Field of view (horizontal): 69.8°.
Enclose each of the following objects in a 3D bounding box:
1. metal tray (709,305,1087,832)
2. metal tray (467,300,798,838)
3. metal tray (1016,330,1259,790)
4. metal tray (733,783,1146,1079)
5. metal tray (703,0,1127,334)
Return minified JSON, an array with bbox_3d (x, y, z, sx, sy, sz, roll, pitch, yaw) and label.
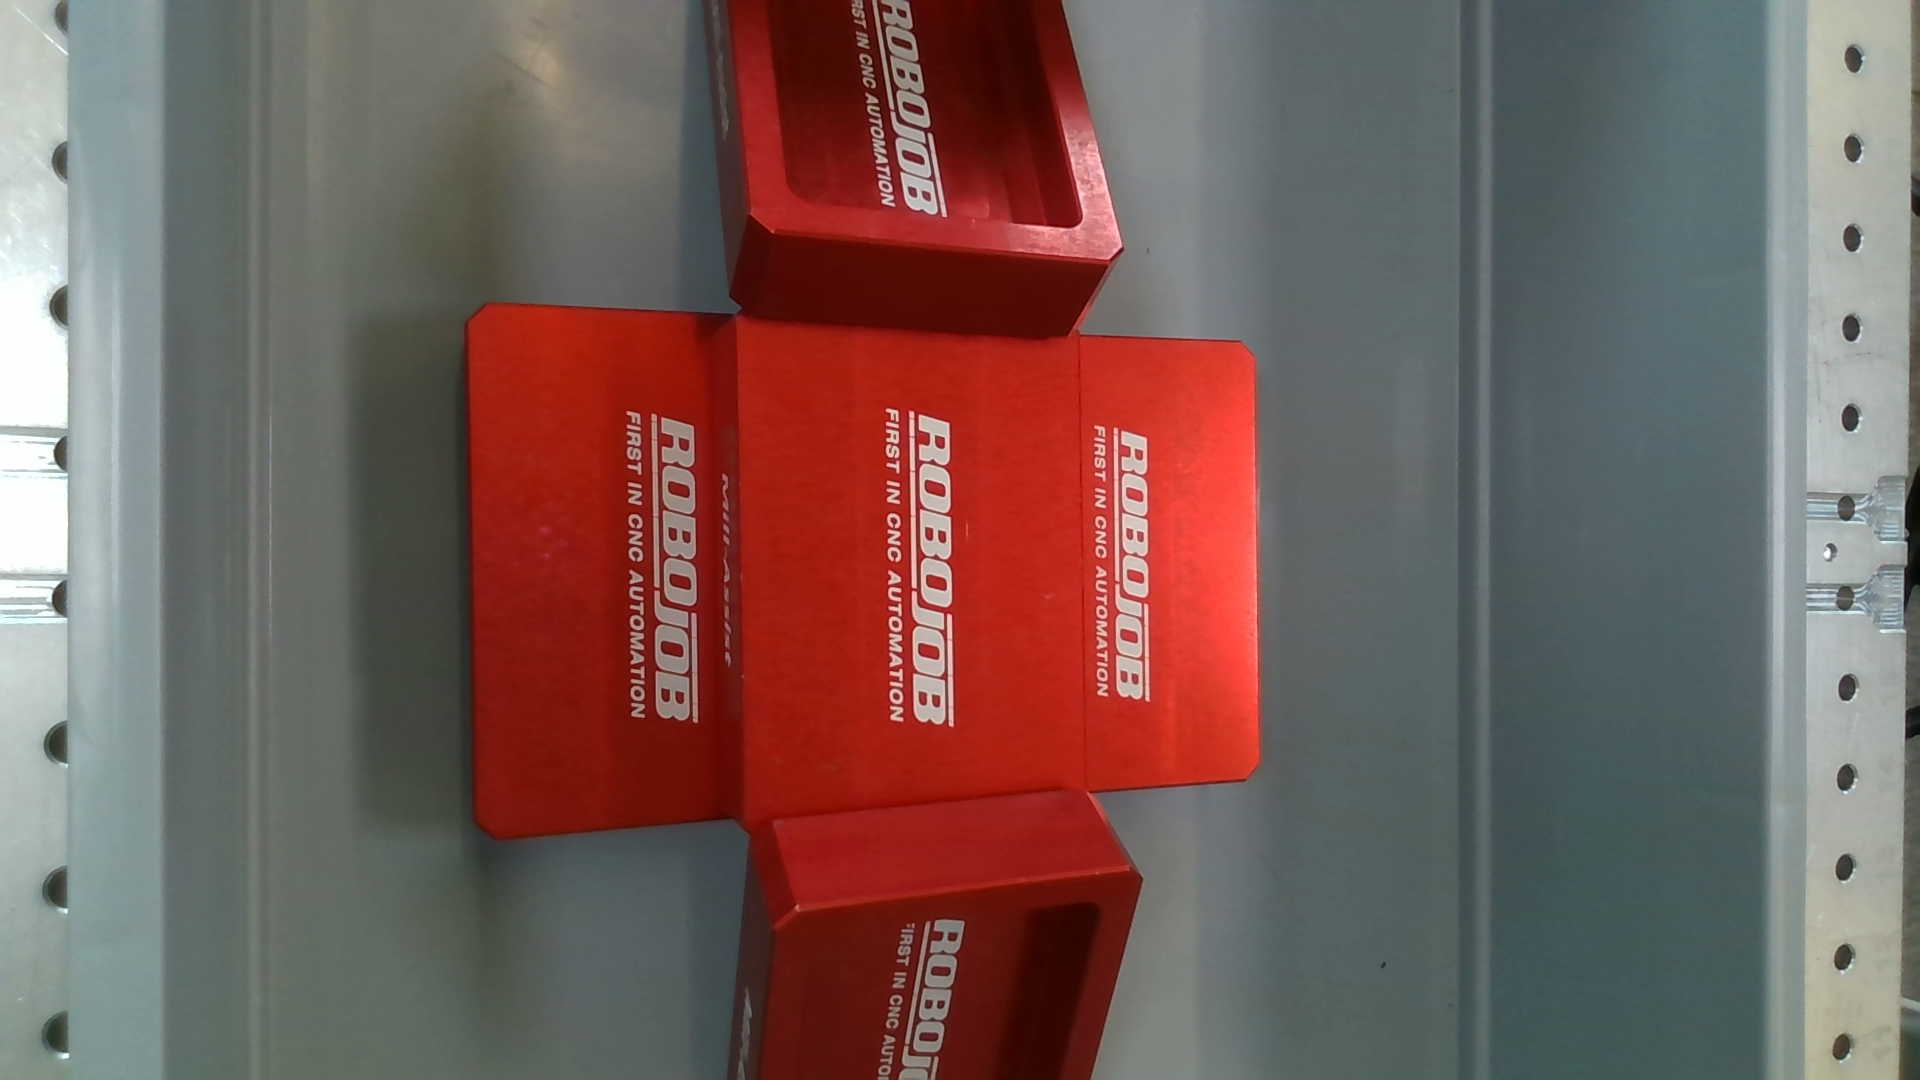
[{"bbox_3d":[-0.015,0.006,0.353,0.090,0.030,0.130,-1,91,-20],"label":"metal tray"},{"bbox_3d":[-0.080,0.007,0.360,0.090,0.030,0.130,-1,91,-20],"label":"metal tray"},{"bbox_3d":[0.041,0.006,0.404,0.090,0.030,0.130,-1,91,-20],"label":"metal tray"},{"bbox_3d":[-0.011,0.126,0.353,0.090,0.030,0.130,-2,120,-20],"label":"metal tray"},{"bbox_3d":[-0.016,-0.116,0.352,0.090,0.030,0.130,1,60,-19],"label":"metal tray"}]
